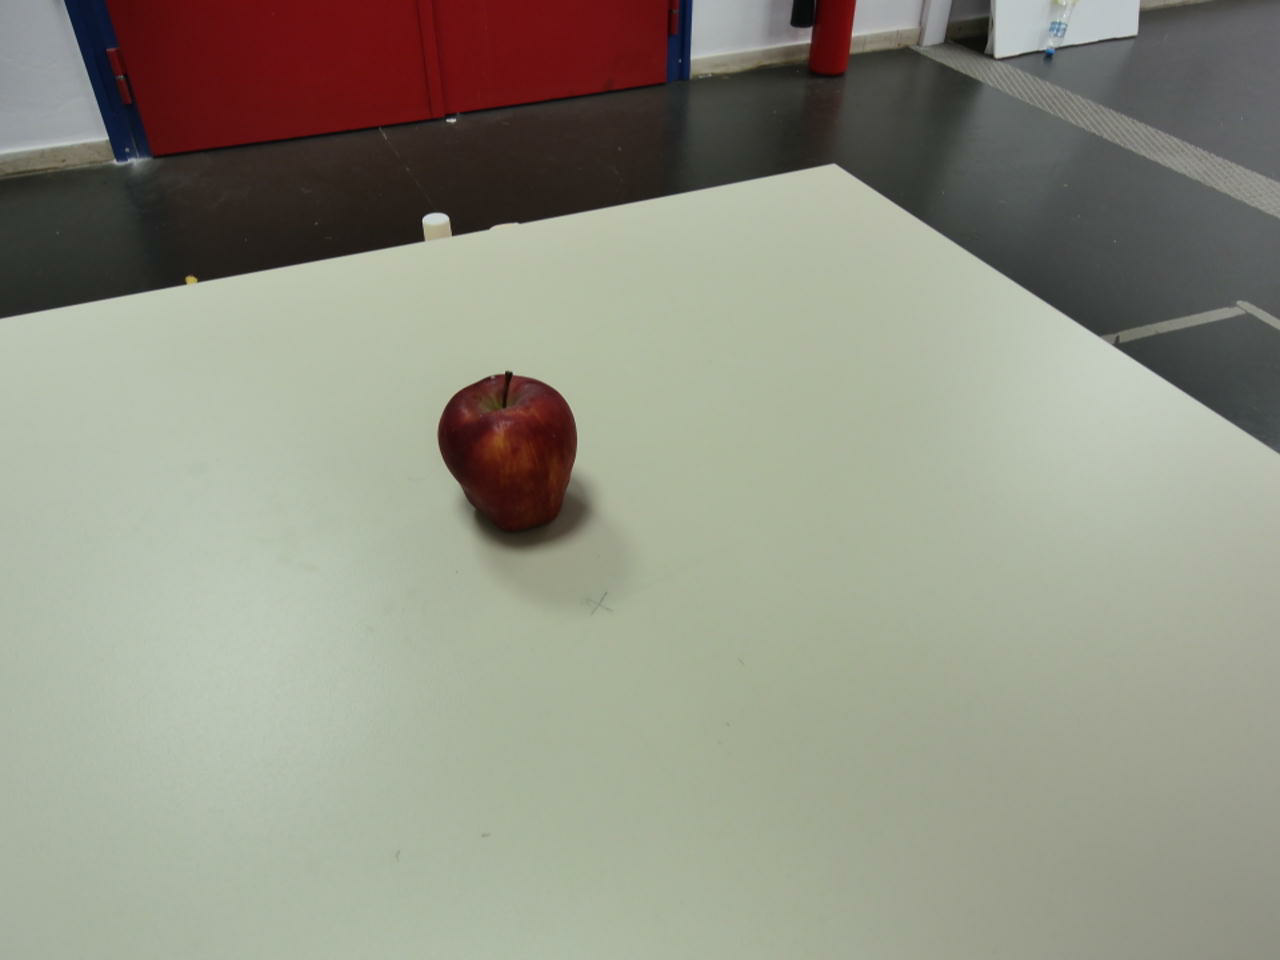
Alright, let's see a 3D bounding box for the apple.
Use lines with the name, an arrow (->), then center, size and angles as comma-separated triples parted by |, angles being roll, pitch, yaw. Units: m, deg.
apple -> -0.074, -0.021, 0.564 | 0.083, 0.090, 0.083 | 0, 39, 0
